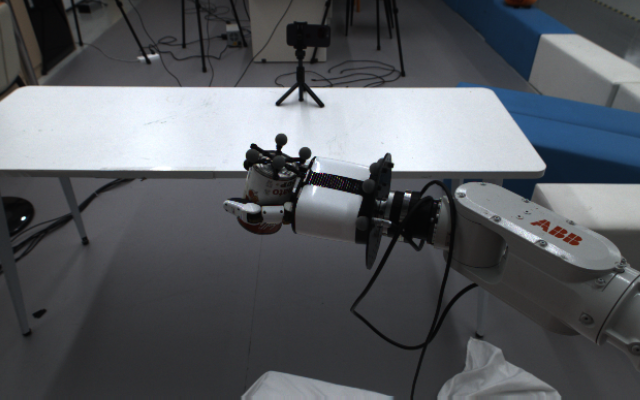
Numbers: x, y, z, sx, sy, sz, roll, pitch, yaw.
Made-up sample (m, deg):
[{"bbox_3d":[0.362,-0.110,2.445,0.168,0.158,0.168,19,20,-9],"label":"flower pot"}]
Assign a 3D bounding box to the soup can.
[{"bbox_3d":[-0.073,-0.010,0.678,0.067,0.101,0.067,14,35,-10],"label":"soup can"}]
